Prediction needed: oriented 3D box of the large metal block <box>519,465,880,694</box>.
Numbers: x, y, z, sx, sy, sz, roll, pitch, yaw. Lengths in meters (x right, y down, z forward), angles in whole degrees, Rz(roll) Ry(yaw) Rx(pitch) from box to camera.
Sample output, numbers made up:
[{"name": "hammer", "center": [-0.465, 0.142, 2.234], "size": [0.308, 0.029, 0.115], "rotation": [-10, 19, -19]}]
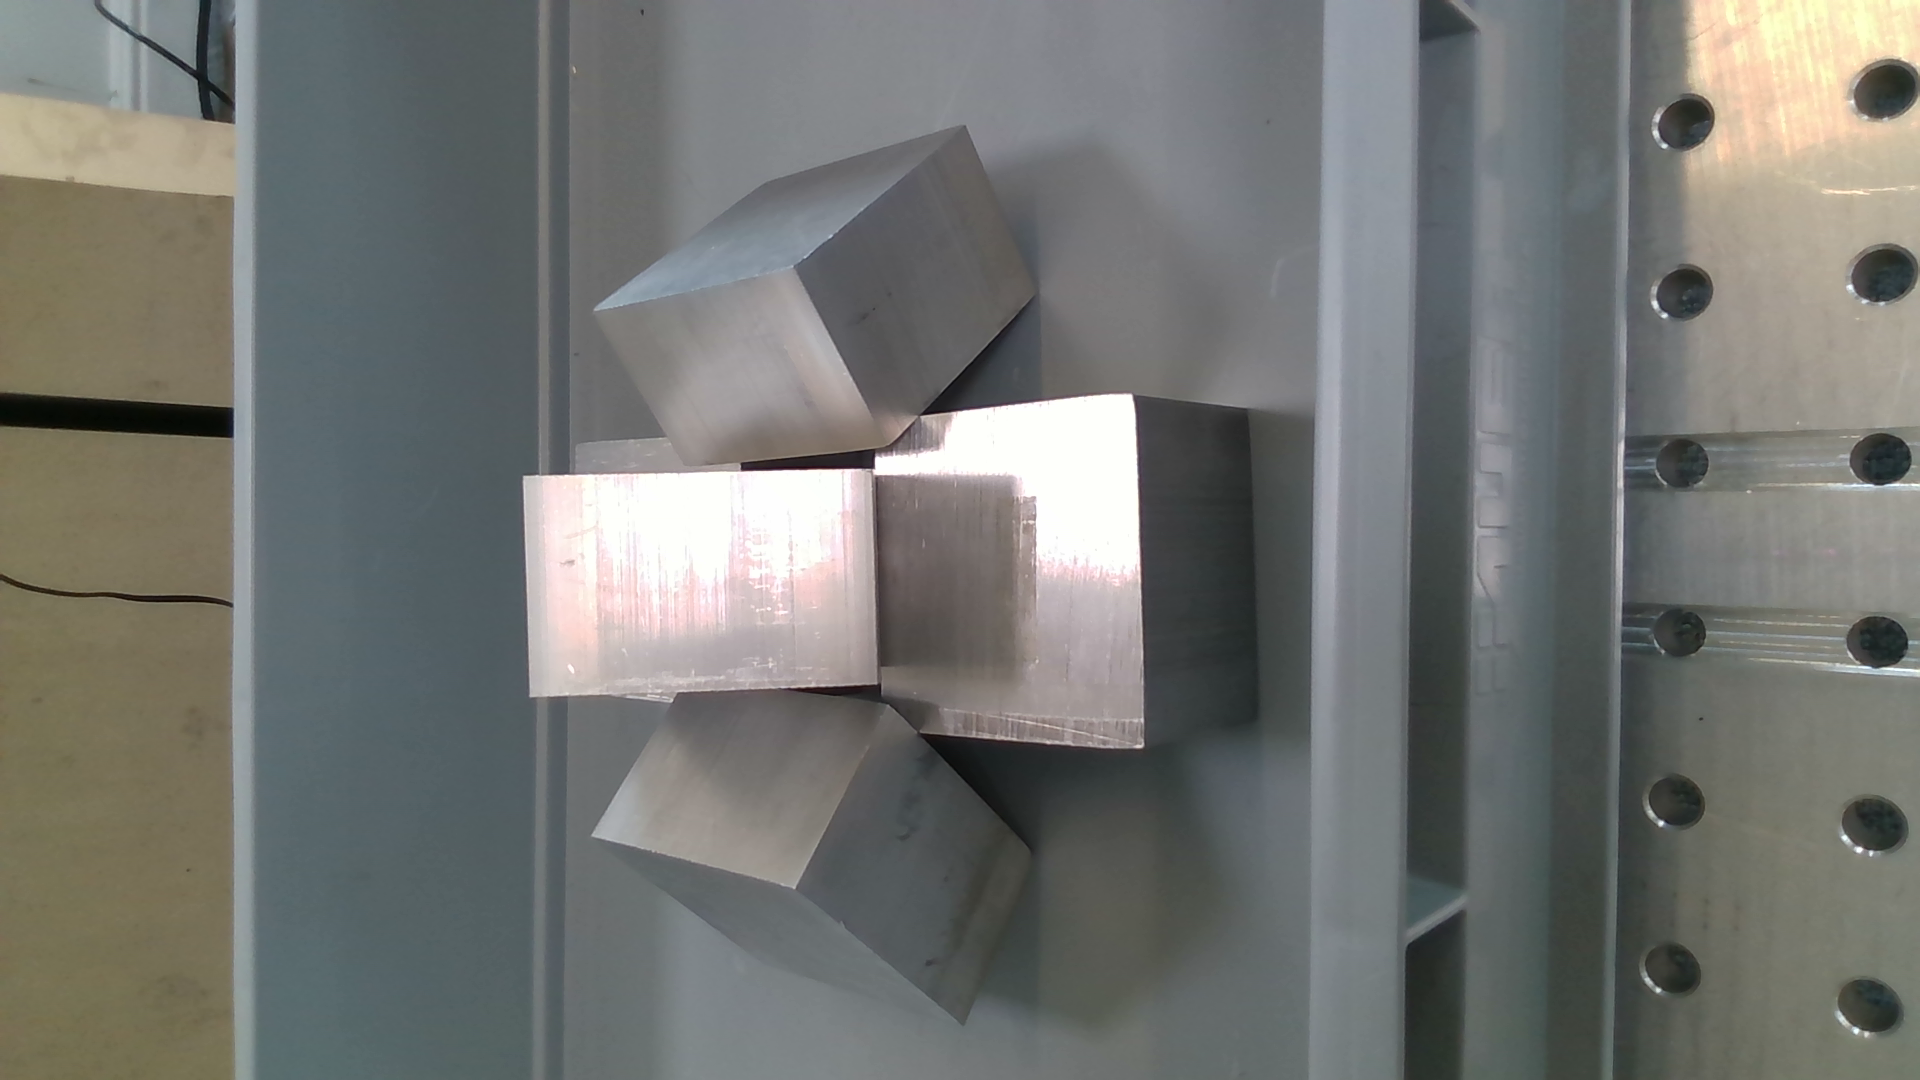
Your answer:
[{"name": "large metal block", "center": [-0.061, 0.008, 0.354], "size": [0.080, 0.080, 0.050], "rotation": [-2, 91, -4]}]

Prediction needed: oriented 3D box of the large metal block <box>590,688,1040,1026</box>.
[{"name": "large metal block", "center": [-0.038, 0.084, 0.378], "size": [0.080, 0.080, 0.050], "rotation": [1, 52, 41]}]

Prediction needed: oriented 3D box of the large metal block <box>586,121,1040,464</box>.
[{"name": "large metal block", "center": [-0.038, -0.066, 0.376], "size": [0.080, 0.080, 0.050], "rotation": [-2, 125, 41]}]

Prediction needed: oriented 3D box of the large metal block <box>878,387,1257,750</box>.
[{"name": "large metal block", "center": [0.026, 0.007, 0.348], "size": [0.080, 0.050, 0.080], "rotation": [-2, 89, 40]}]

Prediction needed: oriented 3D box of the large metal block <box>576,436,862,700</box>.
[{"name": "large metal block", "center": [-0.078, 0.008, 0.439], "size": [0.080, 0.050, 0.080], "rotation": [1, 91, 40]}]
